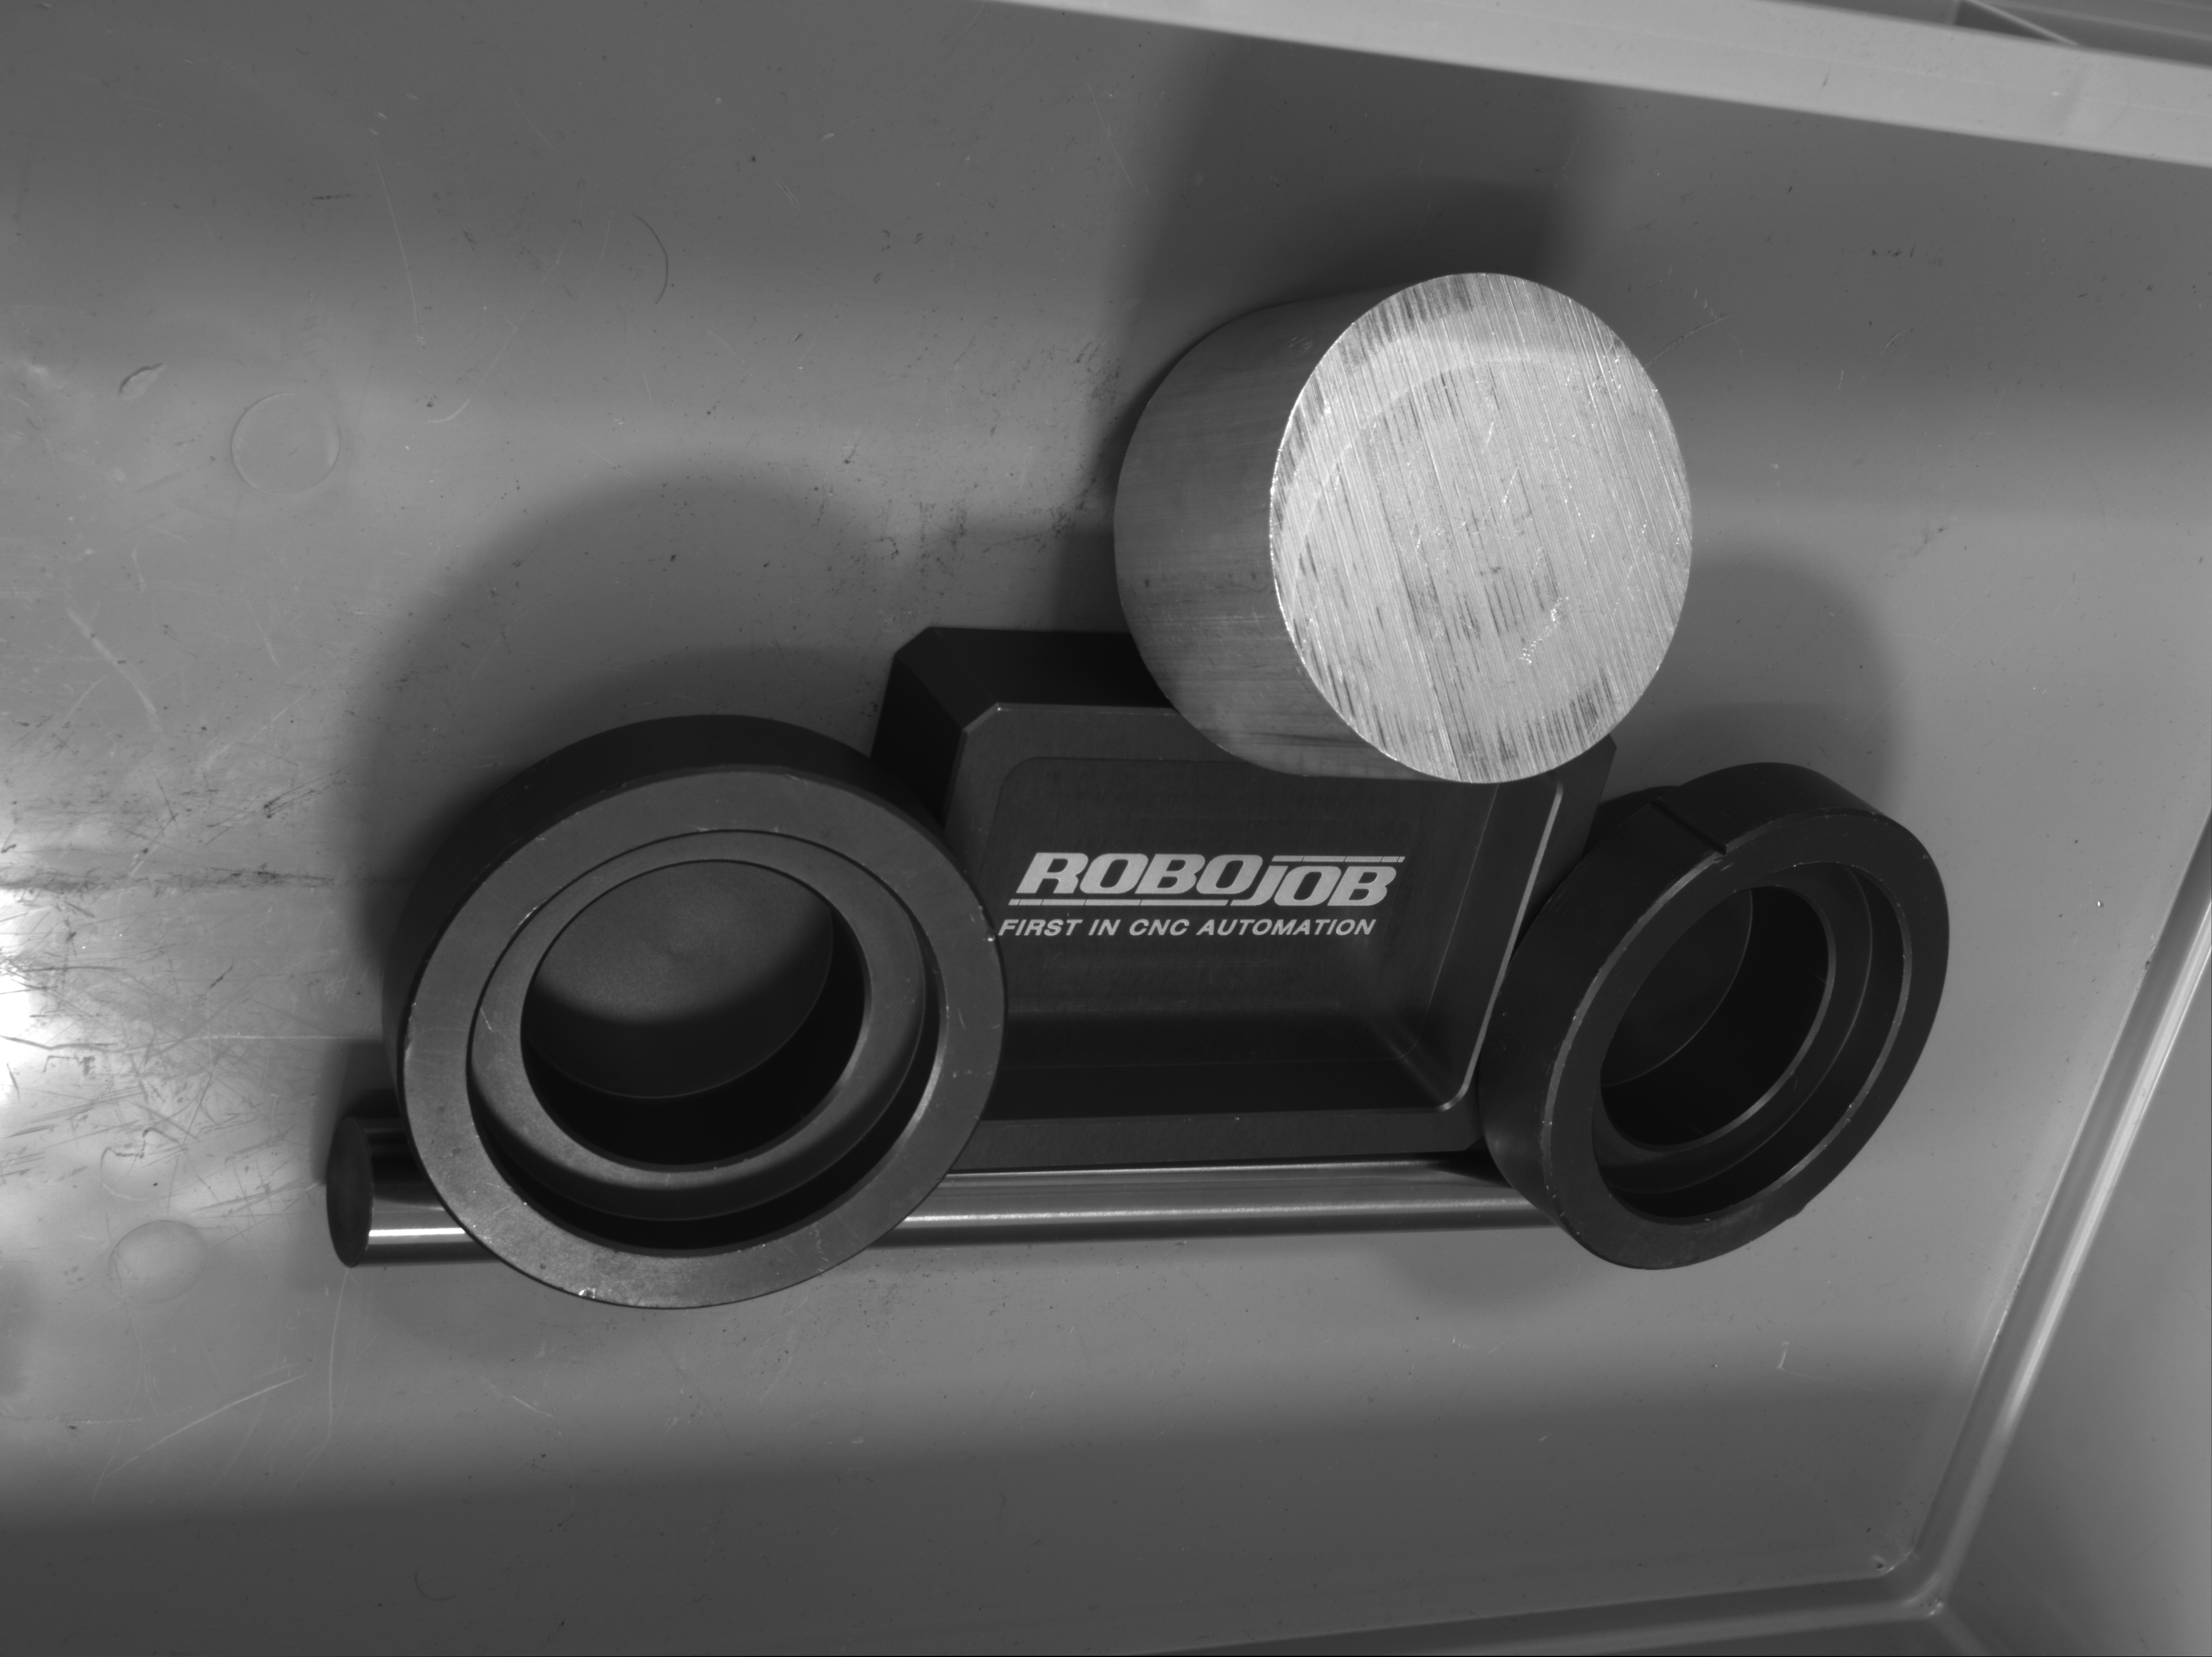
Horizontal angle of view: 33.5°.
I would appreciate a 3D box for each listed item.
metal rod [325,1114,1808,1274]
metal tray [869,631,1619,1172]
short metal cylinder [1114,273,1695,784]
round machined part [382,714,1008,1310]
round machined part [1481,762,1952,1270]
[{"bbox_3d":[0.006,0.065,0.678,0.301,0.025,0.025,2,117,-29],"label":"metal rod"},{"bbox_3d":[0.019,0.014,0.650,0.130,0.030,0.090,1,118,-29],"label":"metal tray"},{"bbox_3d":[0.048,-0.048,0.598,0.080,0.050,0.080,-1,92,-28],"label":"short metal cylinder"},{"bbox_3d":[-0.069,0.026,0.598,0.098,0.042,0.098,-8,118,-15],"label":"round machined part"},{"bbox_3d":[0.110,0.031,0.696,0.098,0.042,0.098,-18,126,-27],"label":"round machined part"}]
